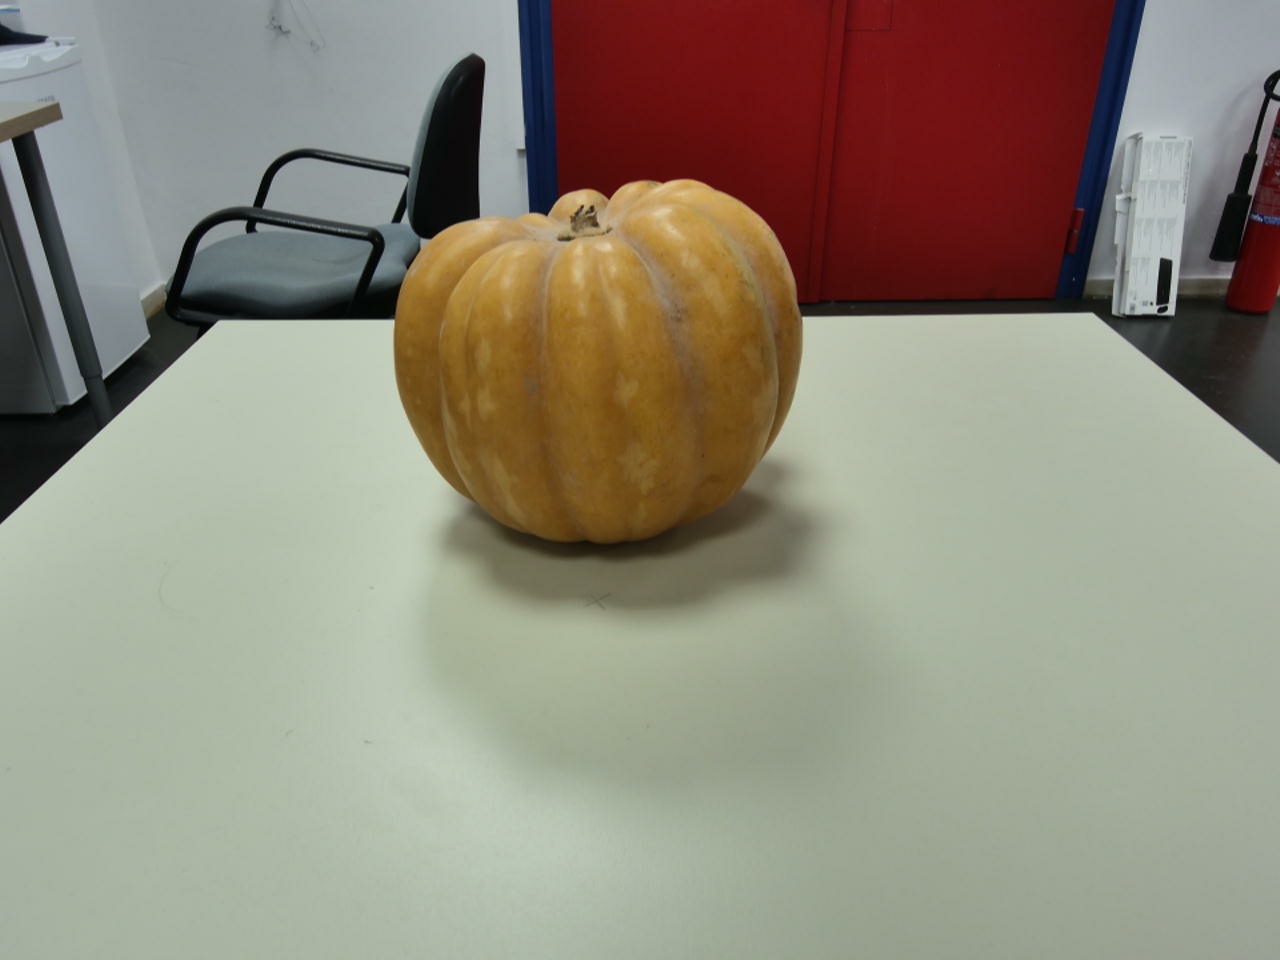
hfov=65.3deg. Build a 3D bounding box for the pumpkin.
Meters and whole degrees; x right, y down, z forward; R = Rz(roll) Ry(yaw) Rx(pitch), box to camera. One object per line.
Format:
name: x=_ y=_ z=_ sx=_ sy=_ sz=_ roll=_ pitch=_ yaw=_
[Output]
pumpkin: x=-0.020 y=-0.068 z=0.573 sx=0.230 sy=0.194 sz=0.230 roll=1 pitch=27 yaw=0
